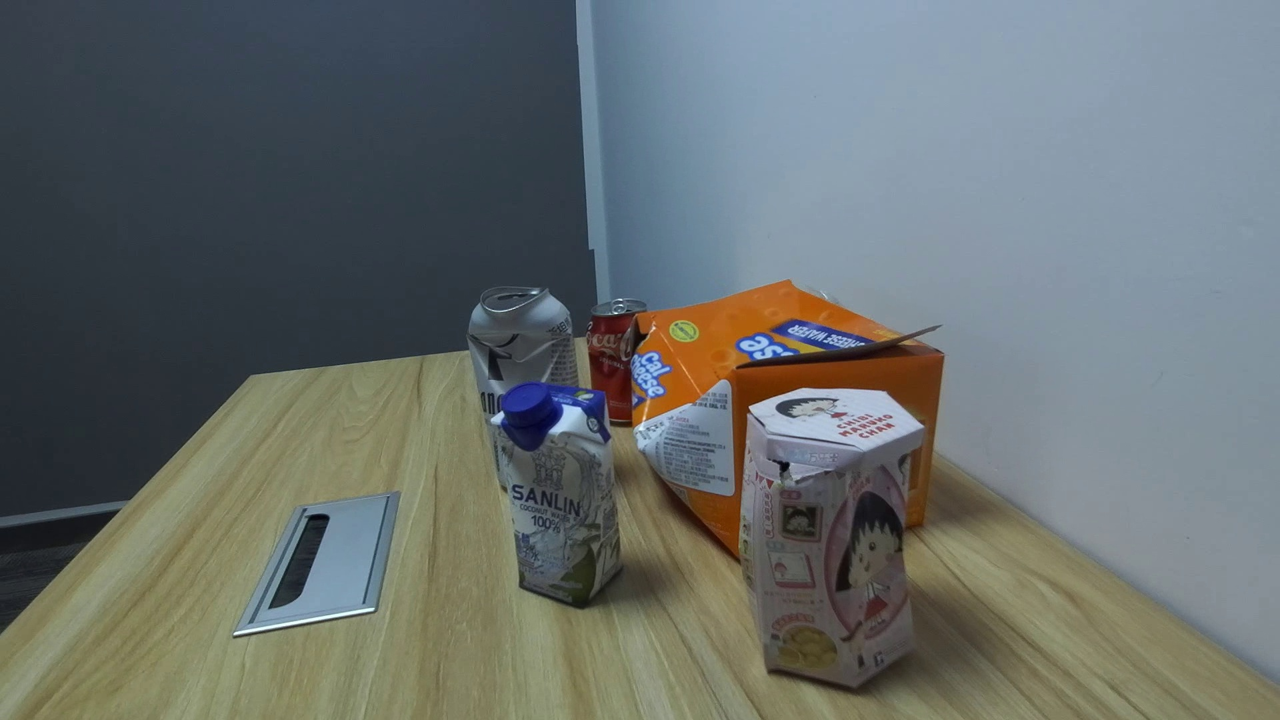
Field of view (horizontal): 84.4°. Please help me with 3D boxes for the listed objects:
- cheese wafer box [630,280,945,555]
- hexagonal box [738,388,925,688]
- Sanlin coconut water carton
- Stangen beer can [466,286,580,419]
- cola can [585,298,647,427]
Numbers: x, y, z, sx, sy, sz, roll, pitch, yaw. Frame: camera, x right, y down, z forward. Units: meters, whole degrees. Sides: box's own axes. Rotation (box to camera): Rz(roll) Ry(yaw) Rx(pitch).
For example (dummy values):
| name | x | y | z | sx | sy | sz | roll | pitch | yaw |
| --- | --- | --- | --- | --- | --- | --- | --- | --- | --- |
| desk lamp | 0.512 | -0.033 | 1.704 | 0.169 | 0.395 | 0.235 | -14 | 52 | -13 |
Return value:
| name | x | y | z | sx | sy | sz | roll | pitch | yaw |
| --- | --- | --- | --- | --- | --- | --- | --- | --- | --- |
| cheese wafer box | 0.086 | 0.030 | 0.550 | 0.192 | 0.145 | 0.218 | -9 | 19 | -17 |
| hexagonal box | 0.099 | 0.091 | 0.379 | 0.091 | 0.134 | 0.090 | -1 | 16 | 7 |
| Sanlin coconut water carton | -0.051 | 0.078 | 0.439 | 0.077 | 0.142 | 0.058 | 7 | 26 | 29 |
| Stangen beer can | -0.091 | 0.024 | 0.570 | 0.077 | 0.162 | 0.065 | -11 | 19 | -19 |
| cola can | -0.016 | 0.001 | 0.702 | 0.066 | 0.117 | 0.066 | 6 | 19 | 32 |
